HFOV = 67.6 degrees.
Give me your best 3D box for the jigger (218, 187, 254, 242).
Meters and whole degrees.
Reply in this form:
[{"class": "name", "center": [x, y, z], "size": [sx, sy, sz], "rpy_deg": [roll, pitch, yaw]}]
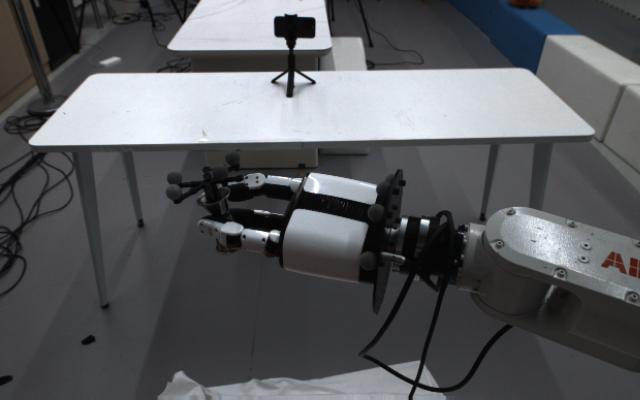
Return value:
[{"class": "jigger", "center": [-0.111, 0.024, 0.569], "size": [0.043, 0.071, 0.043], "rpy_deg": [-12, 29, 7]}]
